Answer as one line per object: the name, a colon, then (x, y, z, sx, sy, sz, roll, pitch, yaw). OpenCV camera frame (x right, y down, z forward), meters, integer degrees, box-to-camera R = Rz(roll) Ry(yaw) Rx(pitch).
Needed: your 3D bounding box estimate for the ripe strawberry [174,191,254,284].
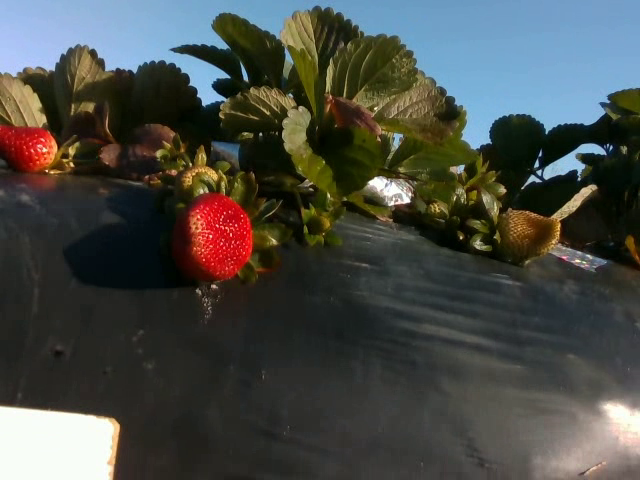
ripe strawberry: (-0.050, 0.000, 0.260, 0.042, 0.042, 0.059, 24, 12, 0)

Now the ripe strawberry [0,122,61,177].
ripe strawberry: (-0.174, -0.056, 0.353, 0.046, 0.036, 0.035, 21, 20, -22)
